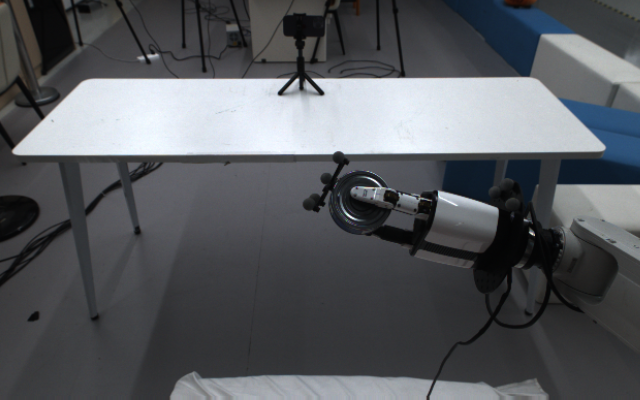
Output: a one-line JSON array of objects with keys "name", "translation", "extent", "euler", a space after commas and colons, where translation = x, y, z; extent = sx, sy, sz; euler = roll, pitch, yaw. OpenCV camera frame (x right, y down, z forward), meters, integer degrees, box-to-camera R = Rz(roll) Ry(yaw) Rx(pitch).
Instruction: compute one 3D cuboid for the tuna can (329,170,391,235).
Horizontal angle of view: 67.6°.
[{"name": "tuna can", "translation": [0.058, 0.001, 0.664], "extent": [0.085, 0.034, 0.085], "euler": [1, 75, -5]}]
